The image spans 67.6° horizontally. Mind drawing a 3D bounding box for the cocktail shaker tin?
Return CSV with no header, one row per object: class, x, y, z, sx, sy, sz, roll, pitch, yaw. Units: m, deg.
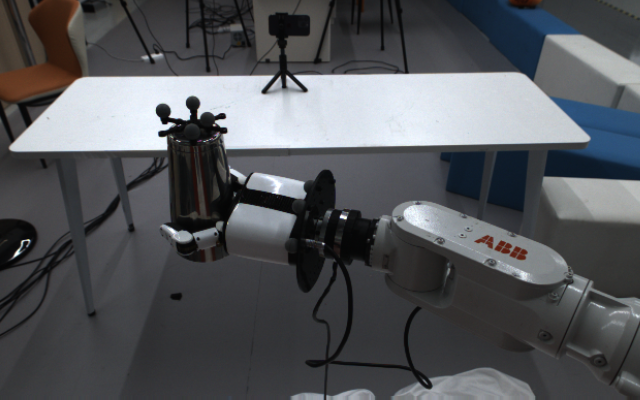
cocktail shaker tin,-0.154,-0.013,0.630,0.093,0.170,0.093,2,35,-1
